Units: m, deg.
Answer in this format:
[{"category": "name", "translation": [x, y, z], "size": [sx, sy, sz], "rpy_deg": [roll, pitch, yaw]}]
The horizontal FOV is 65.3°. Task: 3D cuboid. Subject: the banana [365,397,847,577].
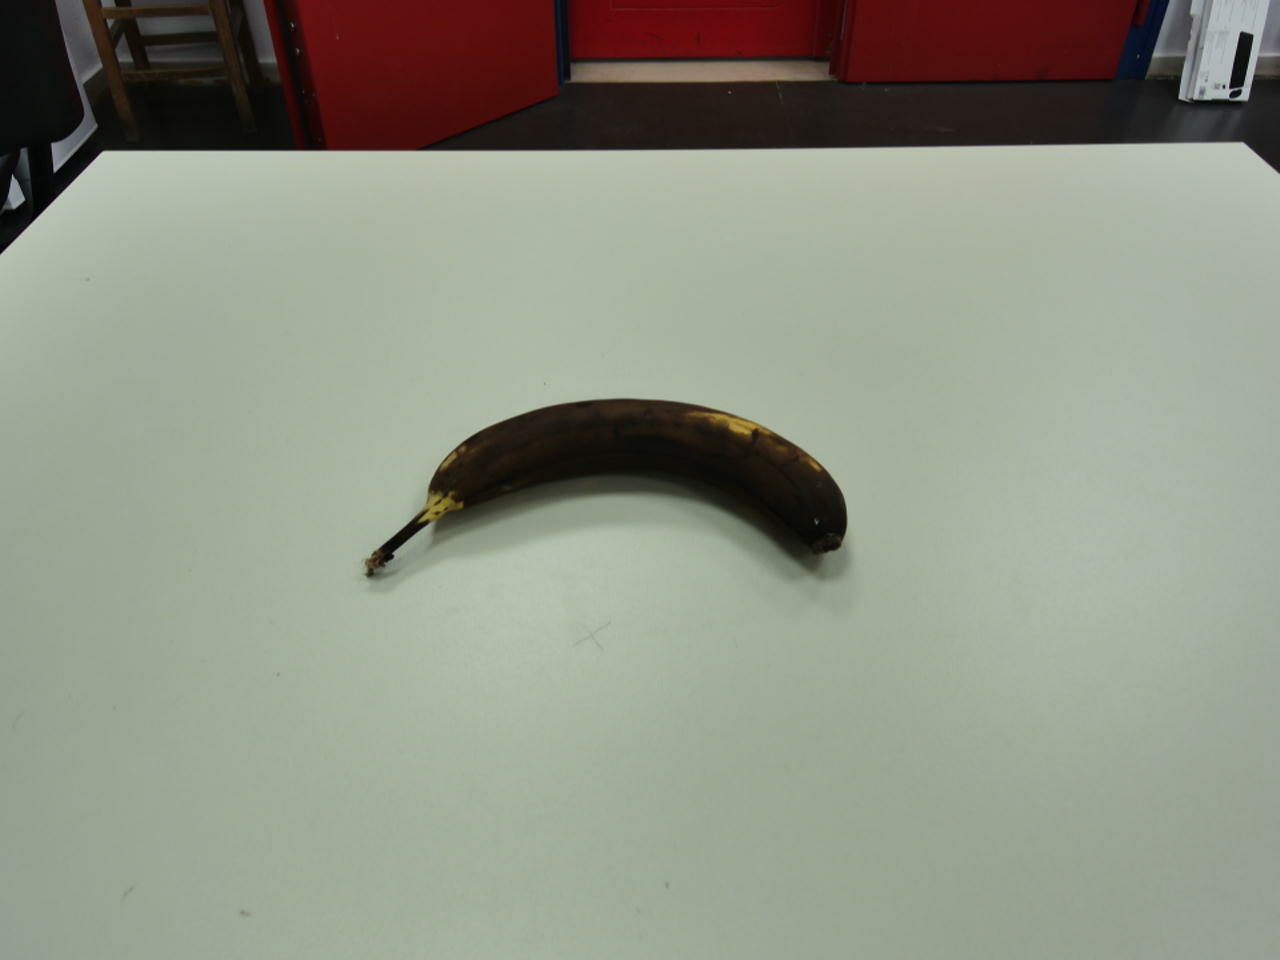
[{"category": "banana", "translation": [-0.012, -0.003, 0.414], "size": [0.188, 0.034, 0.091], "rpy_deg": [0, 39, 1]}]
